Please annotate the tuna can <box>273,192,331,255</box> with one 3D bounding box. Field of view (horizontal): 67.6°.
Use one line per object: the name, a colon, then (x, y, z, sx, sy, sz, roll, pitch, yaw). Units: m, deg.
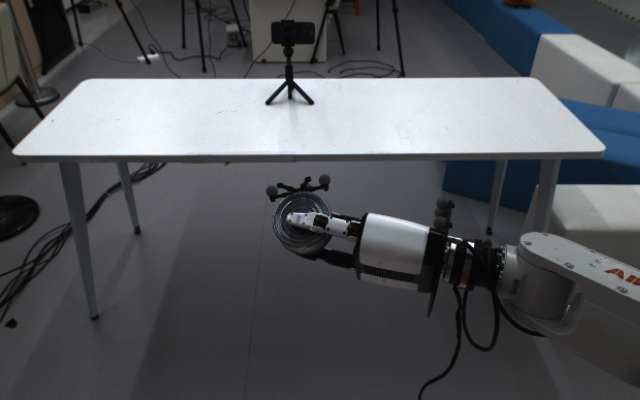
tuna can: (-0.021, 0.030, 0.686, 0.085, 0.034, 0.085, -4, 68, 9)
